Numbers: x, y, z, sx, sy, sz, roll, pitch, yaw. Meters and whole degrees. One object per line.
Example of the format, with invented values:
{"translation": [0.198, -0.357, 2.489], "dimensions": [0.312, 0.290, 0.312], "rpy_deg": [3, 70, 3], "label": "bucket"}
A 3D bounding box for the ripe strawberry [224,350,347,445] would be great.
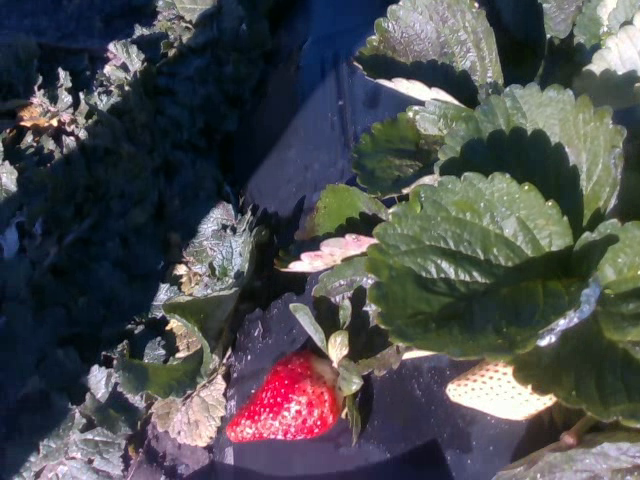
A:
{"translation": [-0.019, 0.078, 0.273], "dimensions": [0.068, 0.048, 0.040], "rpy_deg": [-37, -43, 10], "label": "ripe strawberry"}
